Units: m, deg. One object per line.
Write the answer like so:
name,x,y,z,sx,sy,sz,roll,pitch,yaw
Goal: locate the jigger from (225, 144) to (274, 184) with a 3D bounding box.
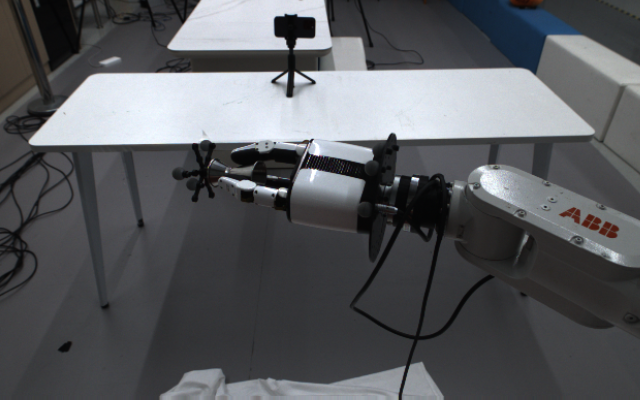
jigger,-0.106,-0.040,0.645,0.071,0.043,0.043,5,34,19
